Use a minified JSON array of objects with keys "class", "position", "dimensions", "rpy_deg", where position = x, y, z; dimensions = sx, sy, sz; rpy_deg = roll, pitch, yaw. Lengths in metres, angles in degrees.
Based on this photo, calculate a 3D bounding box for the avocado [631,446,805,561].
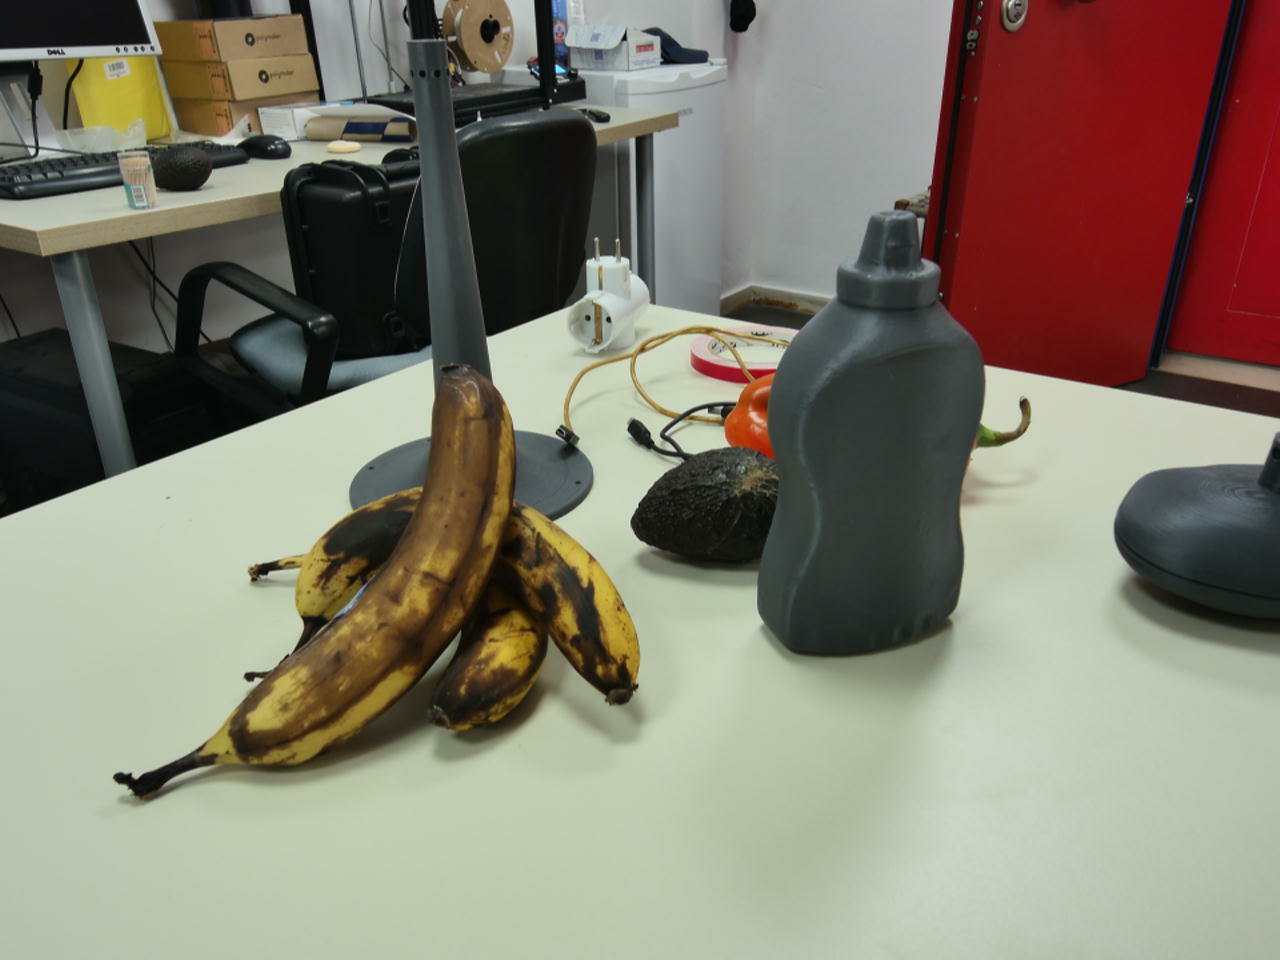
[{"class":"avocado","position":[0.042,0.013,0.538],"dimensions":[0.092,0.062,0.062],"rpy_deg":[6,25,12]}]
